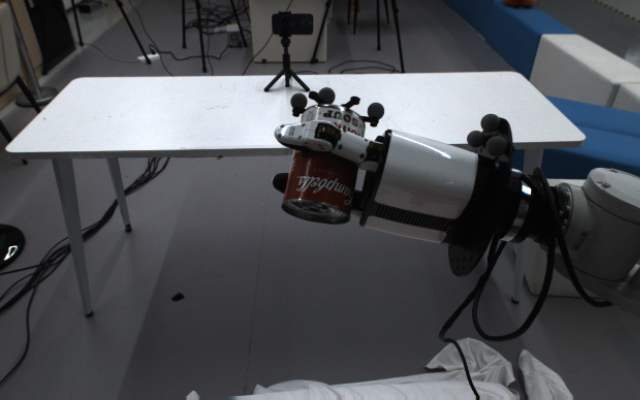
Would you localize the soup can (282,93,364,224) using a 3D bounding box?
[{"bbox_3d":[0.007,-0.034,0.476,0.067,0.067,0.101,8,72,9],"label":"soup can"}]
